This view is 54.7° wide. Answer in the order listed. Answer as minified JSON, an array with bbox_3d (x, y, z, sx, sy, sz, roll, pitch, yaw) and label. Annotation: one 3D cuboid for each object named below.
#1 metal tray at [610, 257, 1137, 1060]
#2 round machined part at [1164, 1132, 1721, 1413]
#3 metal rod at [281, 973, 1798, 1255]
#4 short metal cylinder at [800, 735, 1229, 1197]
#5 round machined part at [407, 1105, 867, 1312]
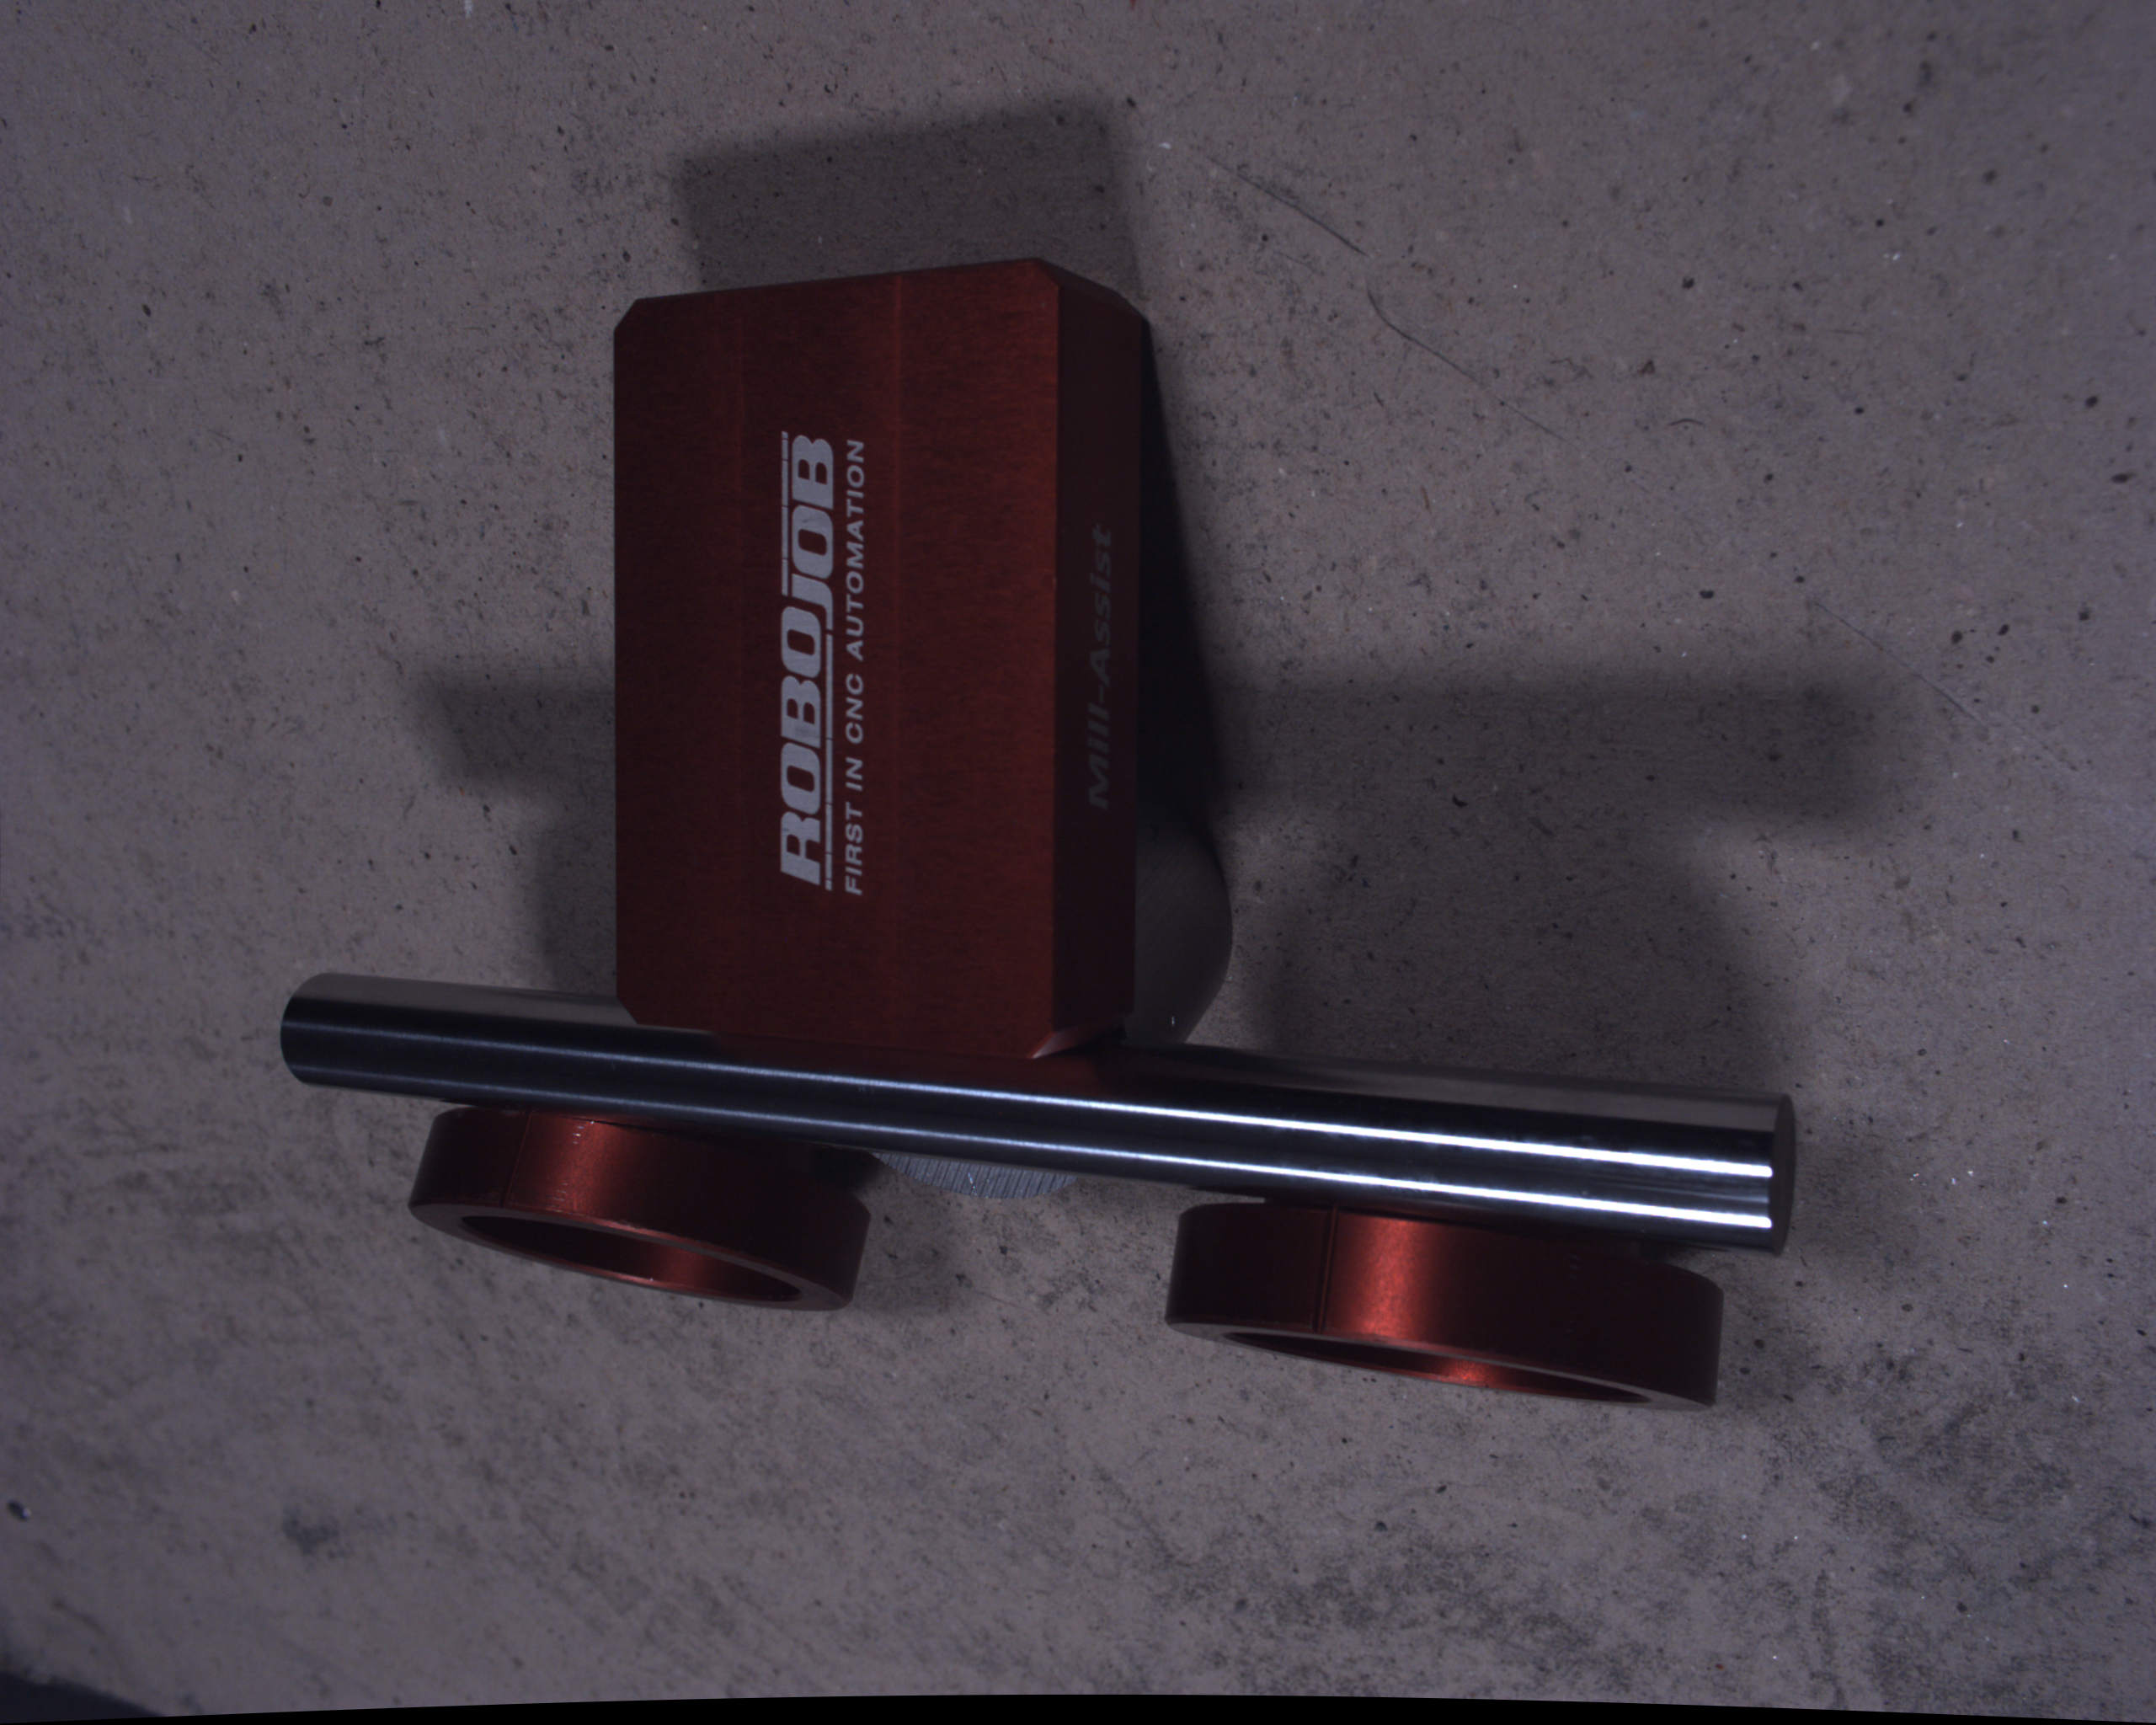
[{"bbox_3d":[-0.037,-0.034,0.367,0.090,0.030,0.129,2,93,26],"label":"metal tray"},{"bbox_3d":[0.067,0.072,0.383,0.099,0.042,0.098,9,164,3],"label":"round machined part"},{"bbox_3d":[-0.027,0.041,0.383,0.301,0.025,0.025,2,120,26],"label":"metal rod"},{"bbox_3d":[-0.017,0.019,0.412,0.080,0.050,0.079,13,124,20],"label":"short metal cylinder"},{"bbox_3d":[-0.095,0.069,0.467,0.099,0.042,0.098,9,159,4],"label":"round machined part"}]
